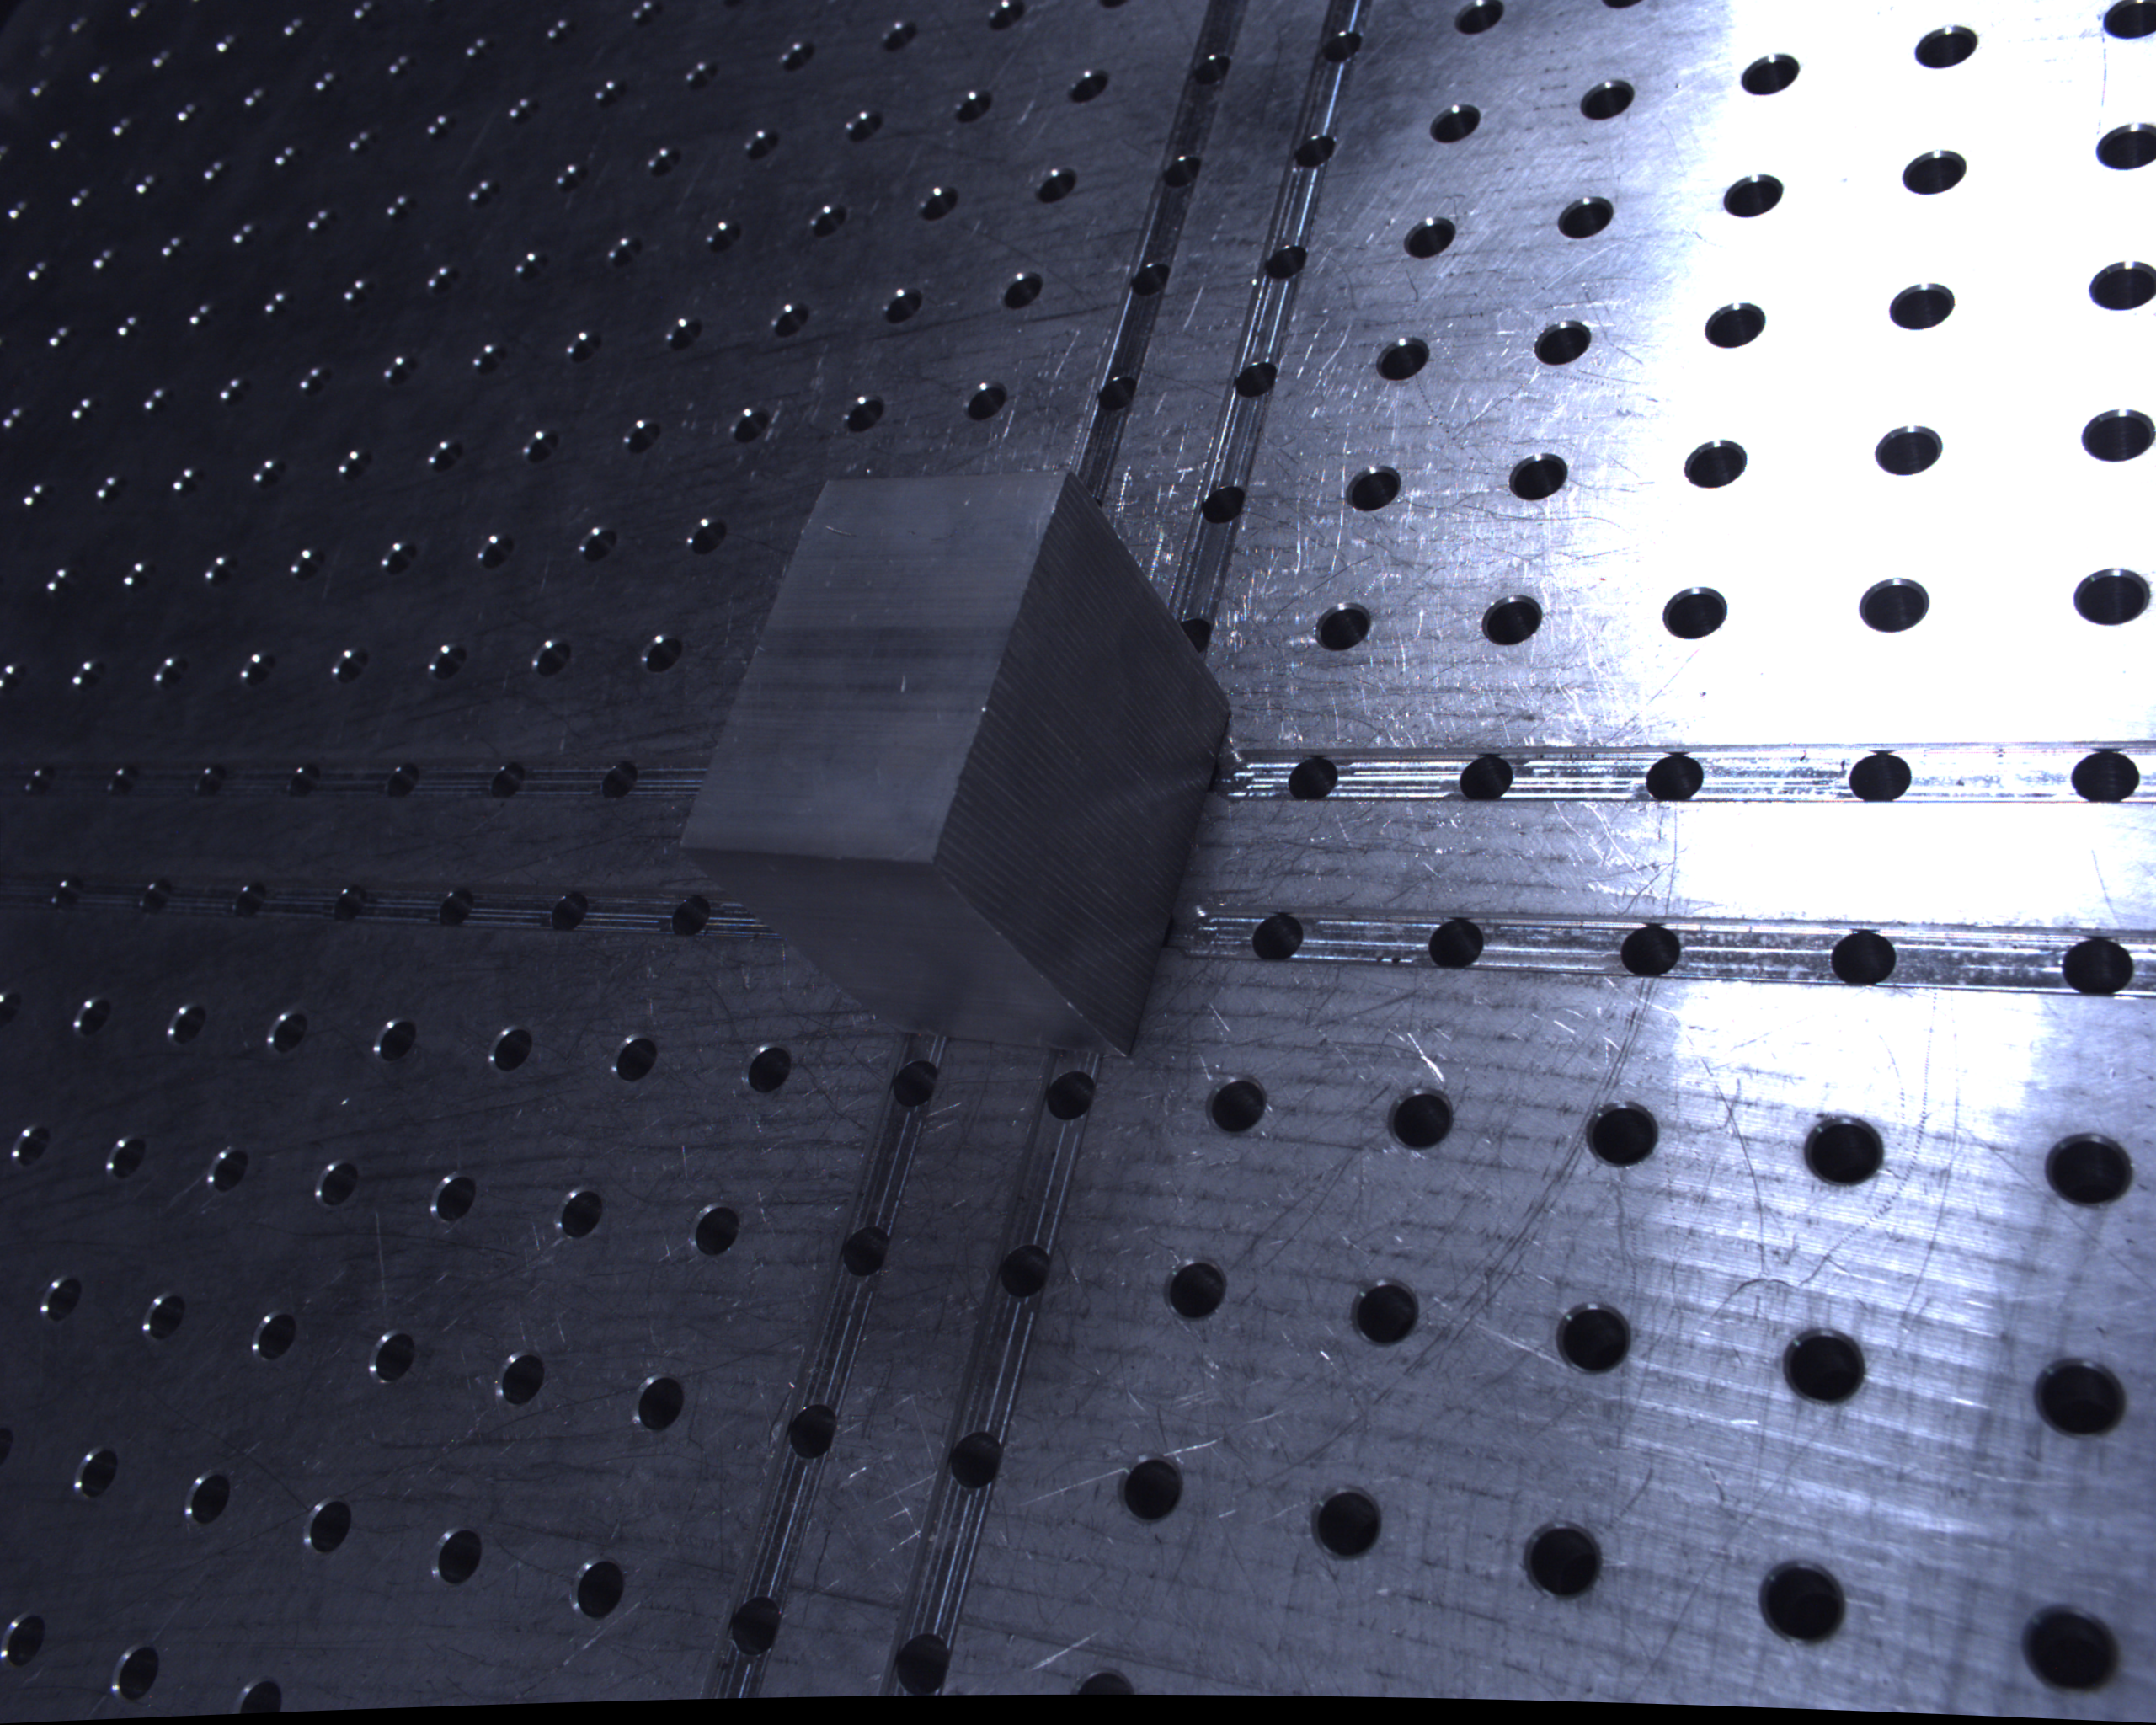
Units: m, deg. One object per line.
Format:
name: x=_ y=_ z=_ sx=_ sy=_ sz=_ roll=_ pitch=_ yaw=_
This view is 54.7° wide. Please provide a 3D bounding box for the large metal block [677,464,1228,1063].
large metal block: x=-0.019 y=-0.017 z=0.391 sx=0.050 sy=0.080 sz=0.080 roll=4 pitch=64 yaw=29
